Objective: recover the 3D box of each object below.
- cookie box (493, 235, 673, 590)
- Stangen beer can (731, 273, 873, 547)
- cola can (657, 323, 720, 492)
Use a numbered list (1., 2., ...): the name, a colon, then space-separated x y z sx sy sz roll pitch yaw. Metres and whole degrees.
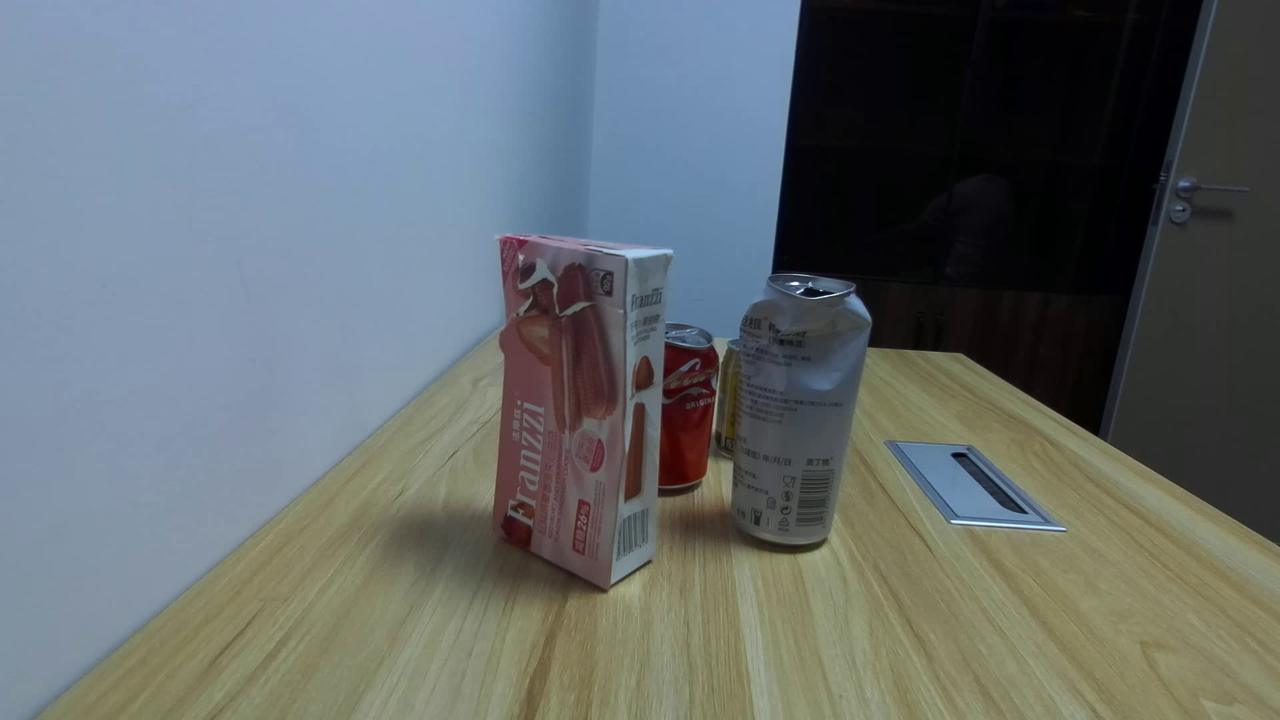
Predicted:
1. cookie box: -0.036 0.026 0.403 0.104 0.186 0.060 14 17 38
2. Stangen beer can: 0.097 0.033 0.444 0.066 0.166 0.065 -5 18 -26
3. cola can: 0.022 0.032 0.529 0.072 0.117 0.065 -10 22 -37
